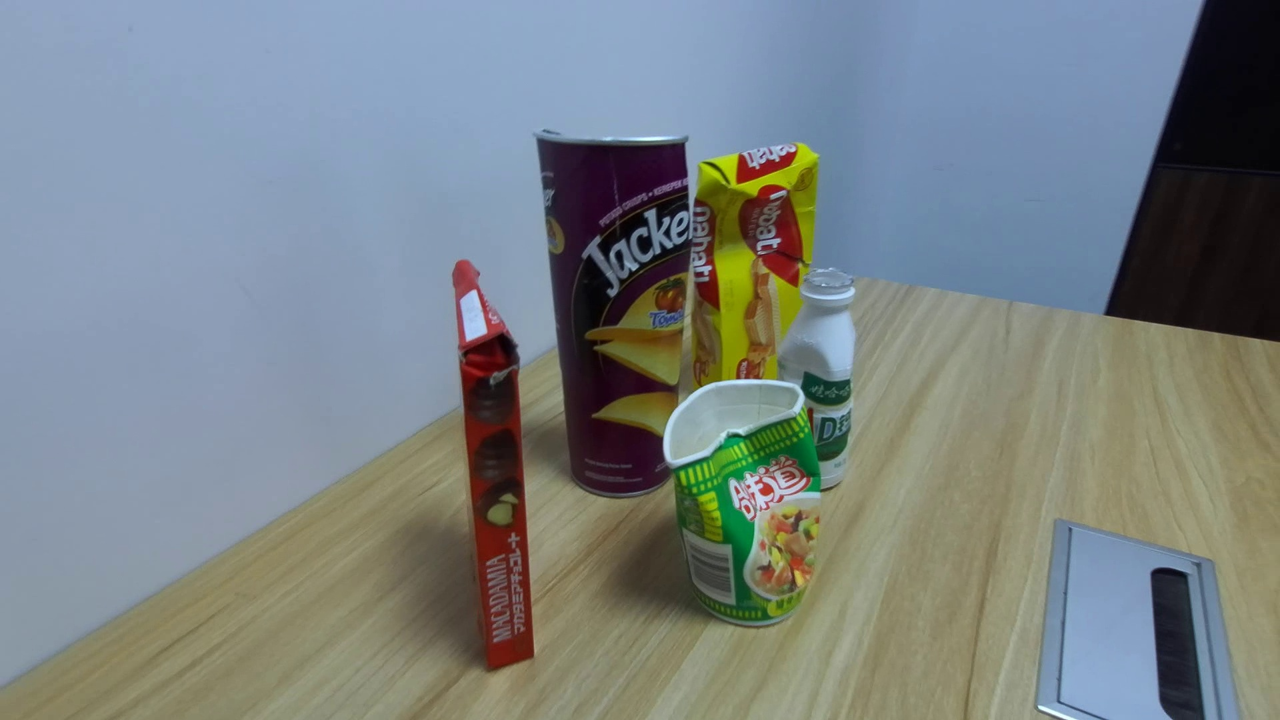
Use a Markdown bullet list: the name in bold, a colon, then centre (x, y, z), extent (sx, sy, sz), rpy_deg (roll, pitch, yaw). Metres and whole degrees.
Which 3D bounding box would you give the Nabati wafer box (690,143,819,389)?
- **Nabati wafer box**: centre (0.087, -0.064, 0.567), extent (0.107, 0.204, 0.042), rpy_deg (-19, 33, -33)

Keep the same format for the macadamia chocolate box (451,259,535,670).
- **macadamia chocolate box**: centre (-0.077, 0.053, 0.366), extent (0.027, 0.187, 0.102), rpy_deg (-6, 26, -16)

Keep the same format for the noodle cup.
- **noodle cup**: centre (0.060, 0.078, 0.386), extent (0.083, 0.122, 0.075), rpy_deg (-13, 20, -2)

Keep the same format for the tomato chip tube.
- **tomato chip tube**: centre (-0.013, -0.030, 0.469), extent (0.076, 0.235, 0.077), rpy_deg (-12, 28, -19)

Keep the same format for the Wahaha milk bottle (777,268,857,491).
- **Wahaha milk bottle**: centre (0.117, 0.015, 0.468), extent (0.055, 0.149, 0.055), rpy_deg (-1, 29, 1)
